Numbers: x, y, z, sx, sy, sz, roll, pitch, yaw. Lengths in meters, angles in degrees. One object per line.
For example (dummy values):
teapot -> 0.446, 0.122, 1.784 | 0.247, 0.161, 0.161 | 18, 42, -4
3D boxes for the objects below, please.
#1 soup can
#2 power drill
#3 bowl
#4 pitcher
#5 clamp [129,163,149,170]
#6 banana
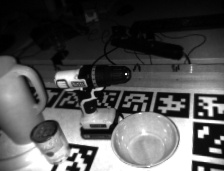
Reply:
soup can -> -0.162, 0.130, 0.571 | 0.068, 0.103, 0.067 | -9, 33, 7
power drill -> -0.041, 0.018, 0.561 | 0.183, 0.189, 0.057 | -3, 43, 14
bowl -> 0.066, 0.119, 0.542 | 0.161, 0.056, 0.161 | -9, 42, 9
pitcher -> -0.277, 0.035, 0.604 | 0.189, 0.245, 0.132 | -16, 37, 0
clamp -> -0.028, 0.229, 0.453 | 0.201, 0.037, 0.165 | -1, 47, 17
banana -> -0.284, 0.188, 0.596 | 0.197, 0.039, 0.073 | -16, 32, -2
